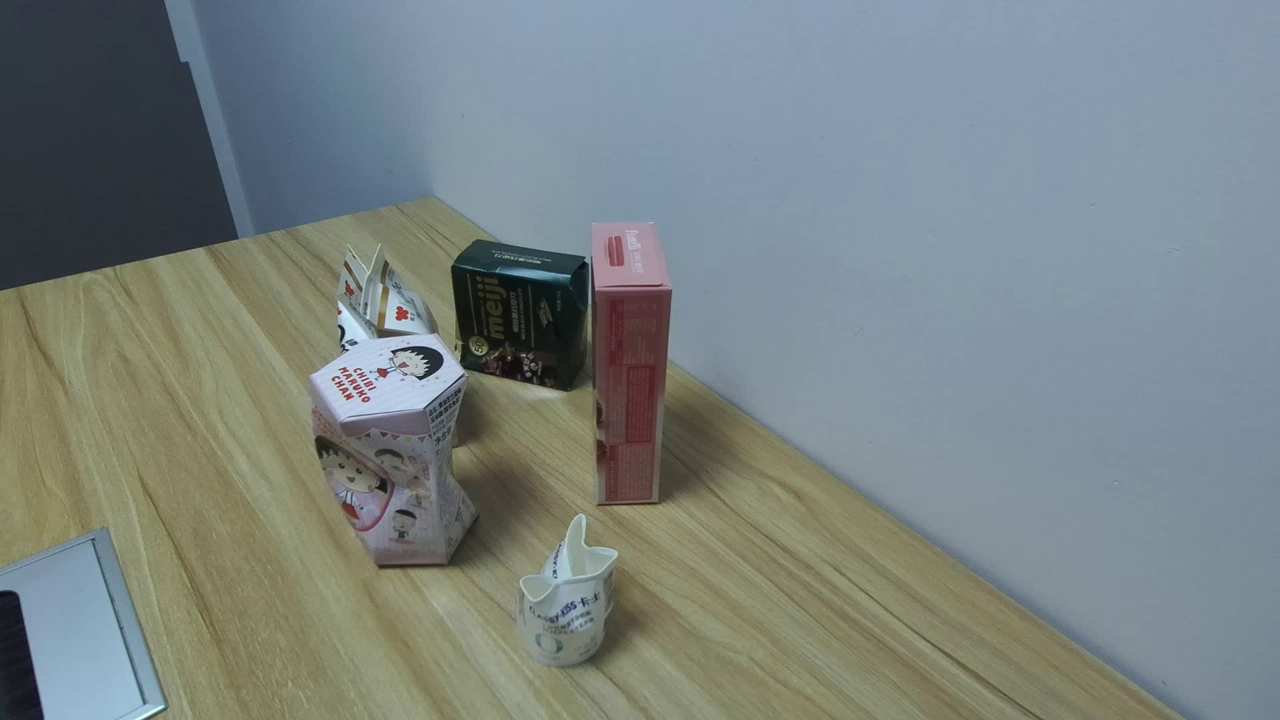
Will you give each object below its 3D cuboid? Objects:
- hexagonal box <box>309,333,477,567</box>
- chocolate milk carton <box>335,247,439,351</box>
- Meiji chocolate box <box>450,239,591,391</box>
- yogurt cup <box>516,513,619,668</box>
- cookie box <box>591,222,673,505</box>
[{"bbox_3d":[-0.156,0.060,0.461,0.088,0.135,0.093,10,36,8],"label":"hexagonal box"},{"bbox_3d":[-0.188,-0.009,0.537,0.074,0.156,0.076,-9,38,-15],"label":"chocolate milk carton"},{"bbox_3d":[-0.103,-0.041,0.625,0.122,0.116,0.058,12,36,12],"label":"Meiji chocolate box"},{"bbox_3d":[-0.043,0.138,0.414,0.055,0.072,0.055,-18,44,-25],"label":"yogurt cup"},{"bbox_3d":[-0.010,0.007,0.505,0.048,0.185,0.096,-2,35,-6],"label":"cookie box"}]
